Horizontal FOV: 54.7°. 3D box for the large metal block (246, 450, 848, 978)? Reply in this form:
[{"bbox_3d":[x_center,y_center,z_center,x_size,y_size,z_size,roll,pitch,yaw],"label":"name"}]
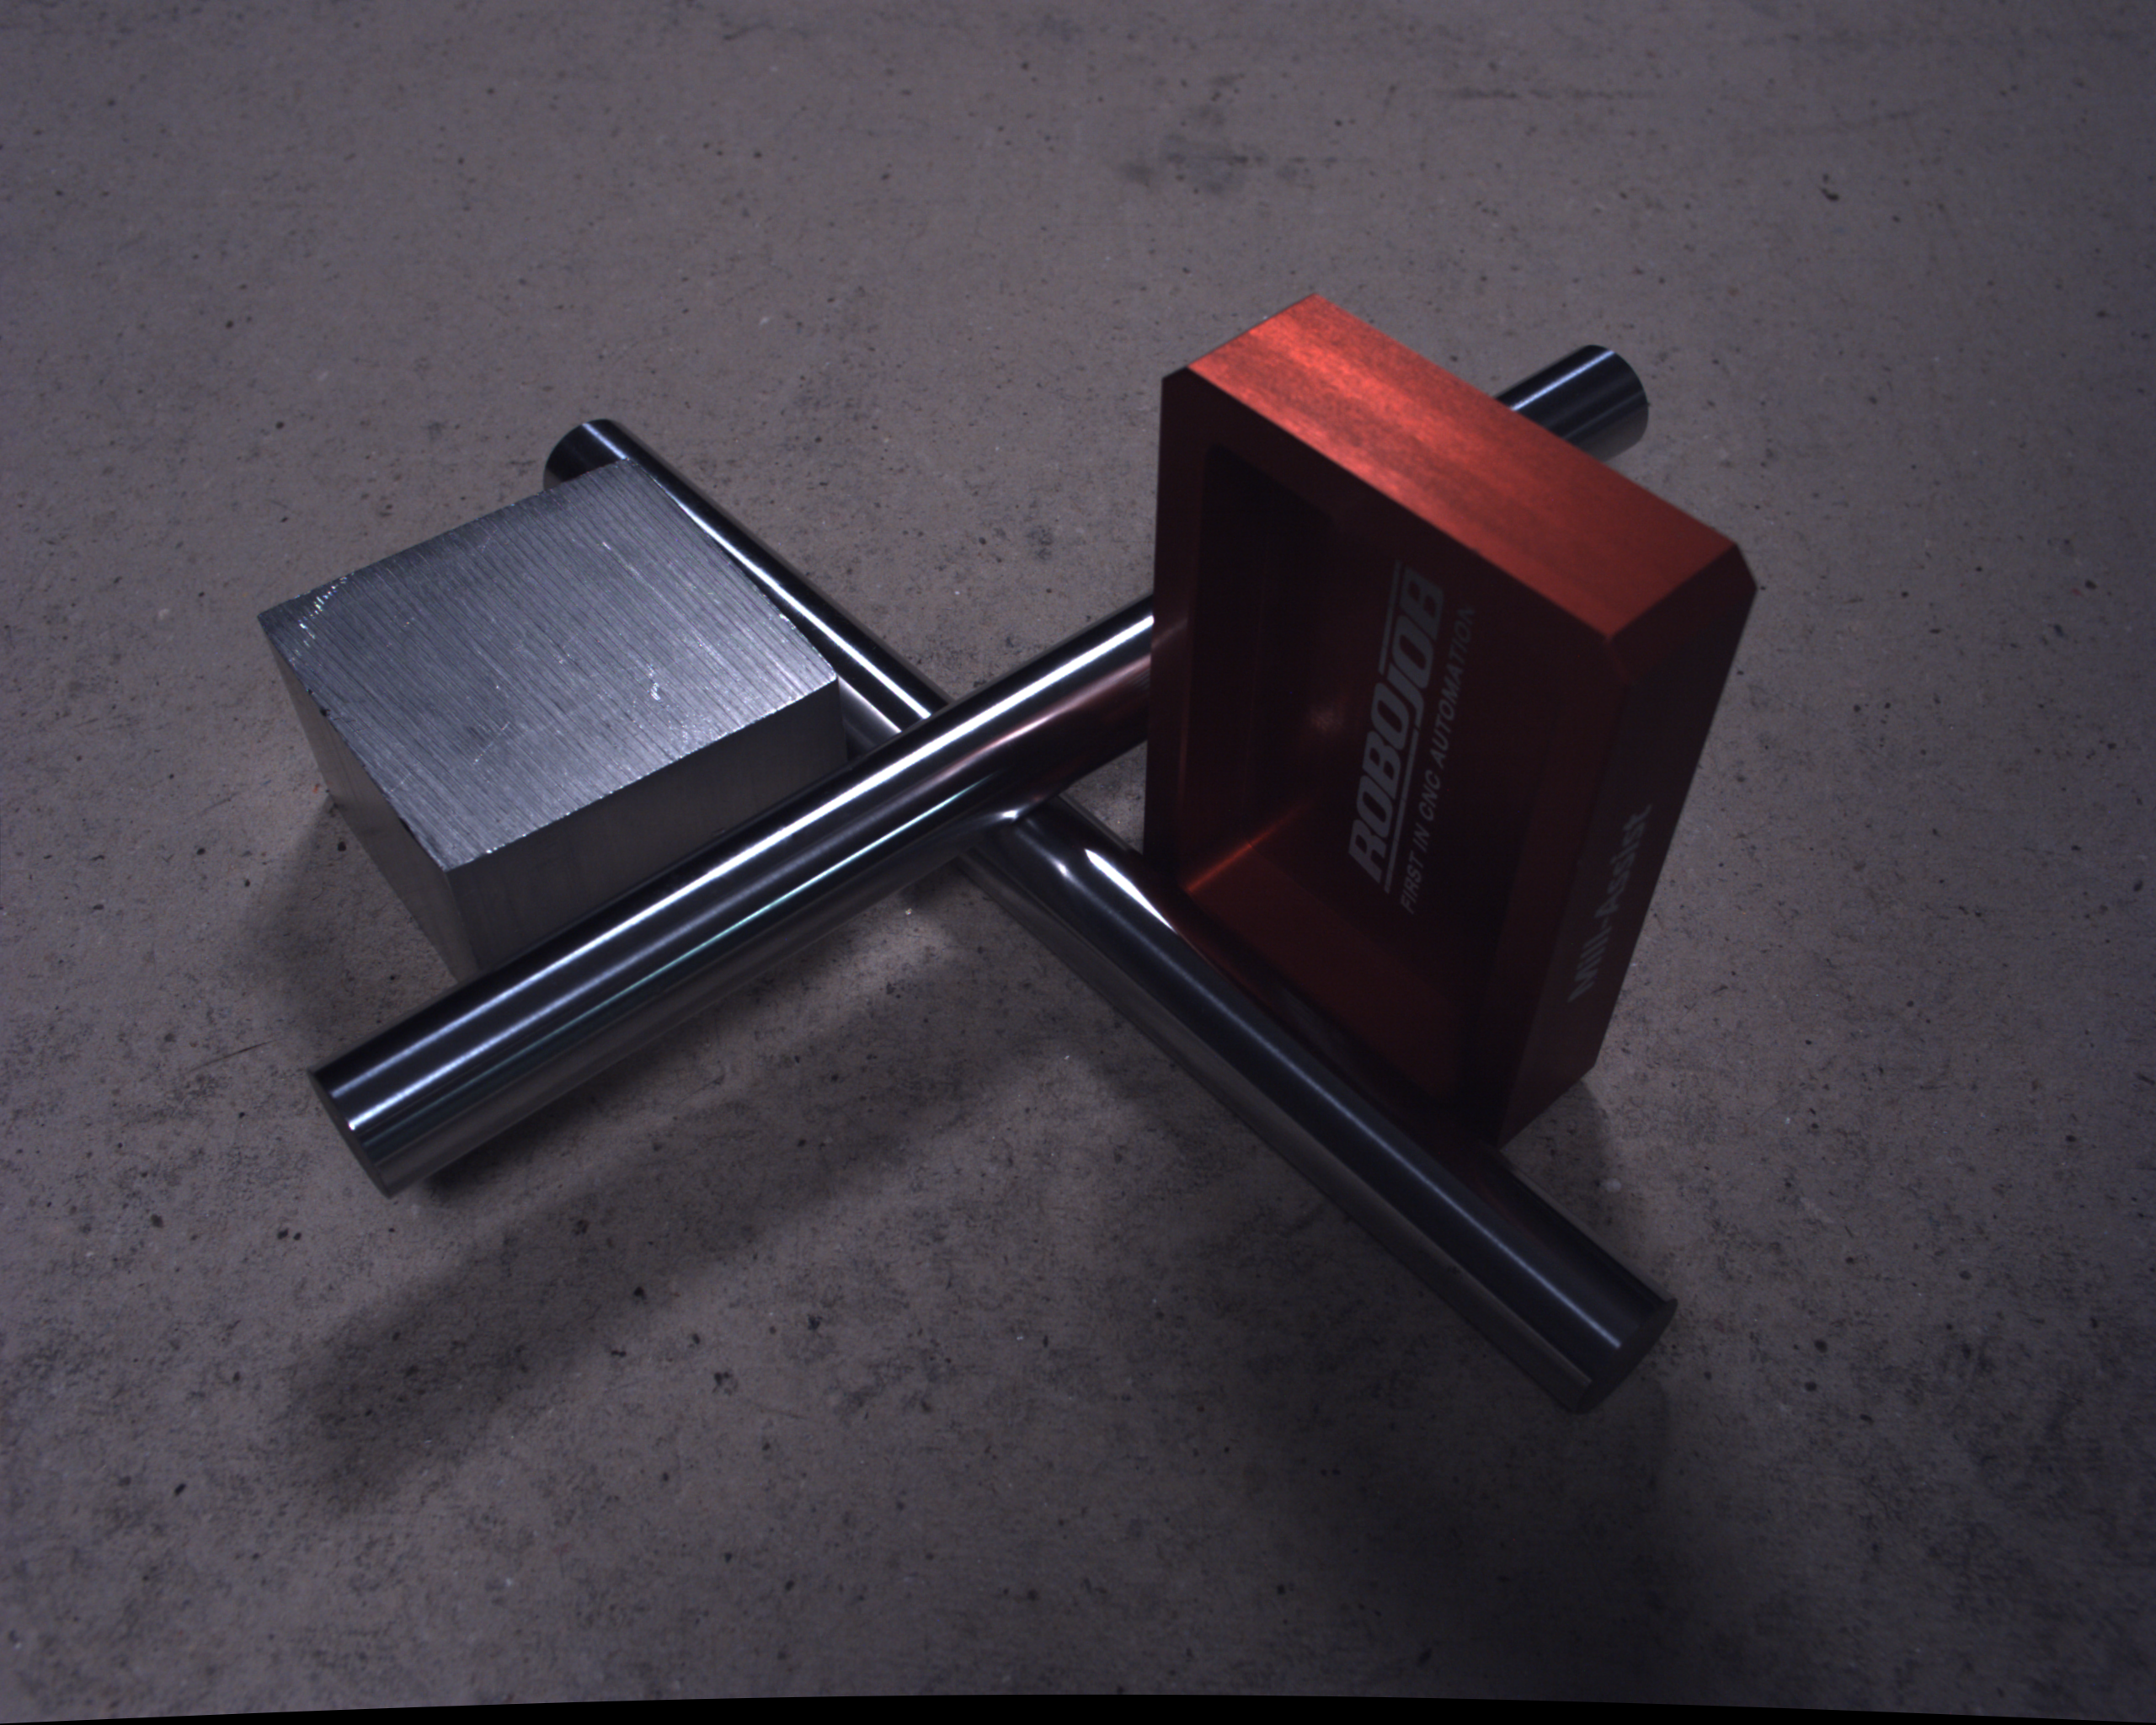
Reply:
[{"bbox_3d":[-0.100,-0.025,0.407,0.081,0.050,0.080,-30,56,-23],"label":"large metal block"}]

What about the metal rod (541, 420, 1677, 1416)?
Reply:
[{"bbox_3d":[-0.012,-0.005,0.409,0.025,0.025,0.300,-35,58,-26],"label":"metal rod"}]

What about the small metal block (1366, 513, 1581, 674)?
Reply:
[{"bbox_3d":[0.083,-0.054,0.451,0.050,0.025,0.050,-29,56,-22],"label":"small metal block"}]

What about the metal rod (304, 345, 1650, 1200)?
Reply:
[{"bbox_3d":[-0.001,-0.029,0.396,0.302,0.025,0.025,-32,57,-25],"label":"metal rod"}]

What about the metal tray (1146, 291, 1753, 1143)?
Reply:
[{"bbox_3d":[0.054,-0.019,0.352,0.030,0.129,0.090,-36,59,-25],"label":"metal tray"}]
